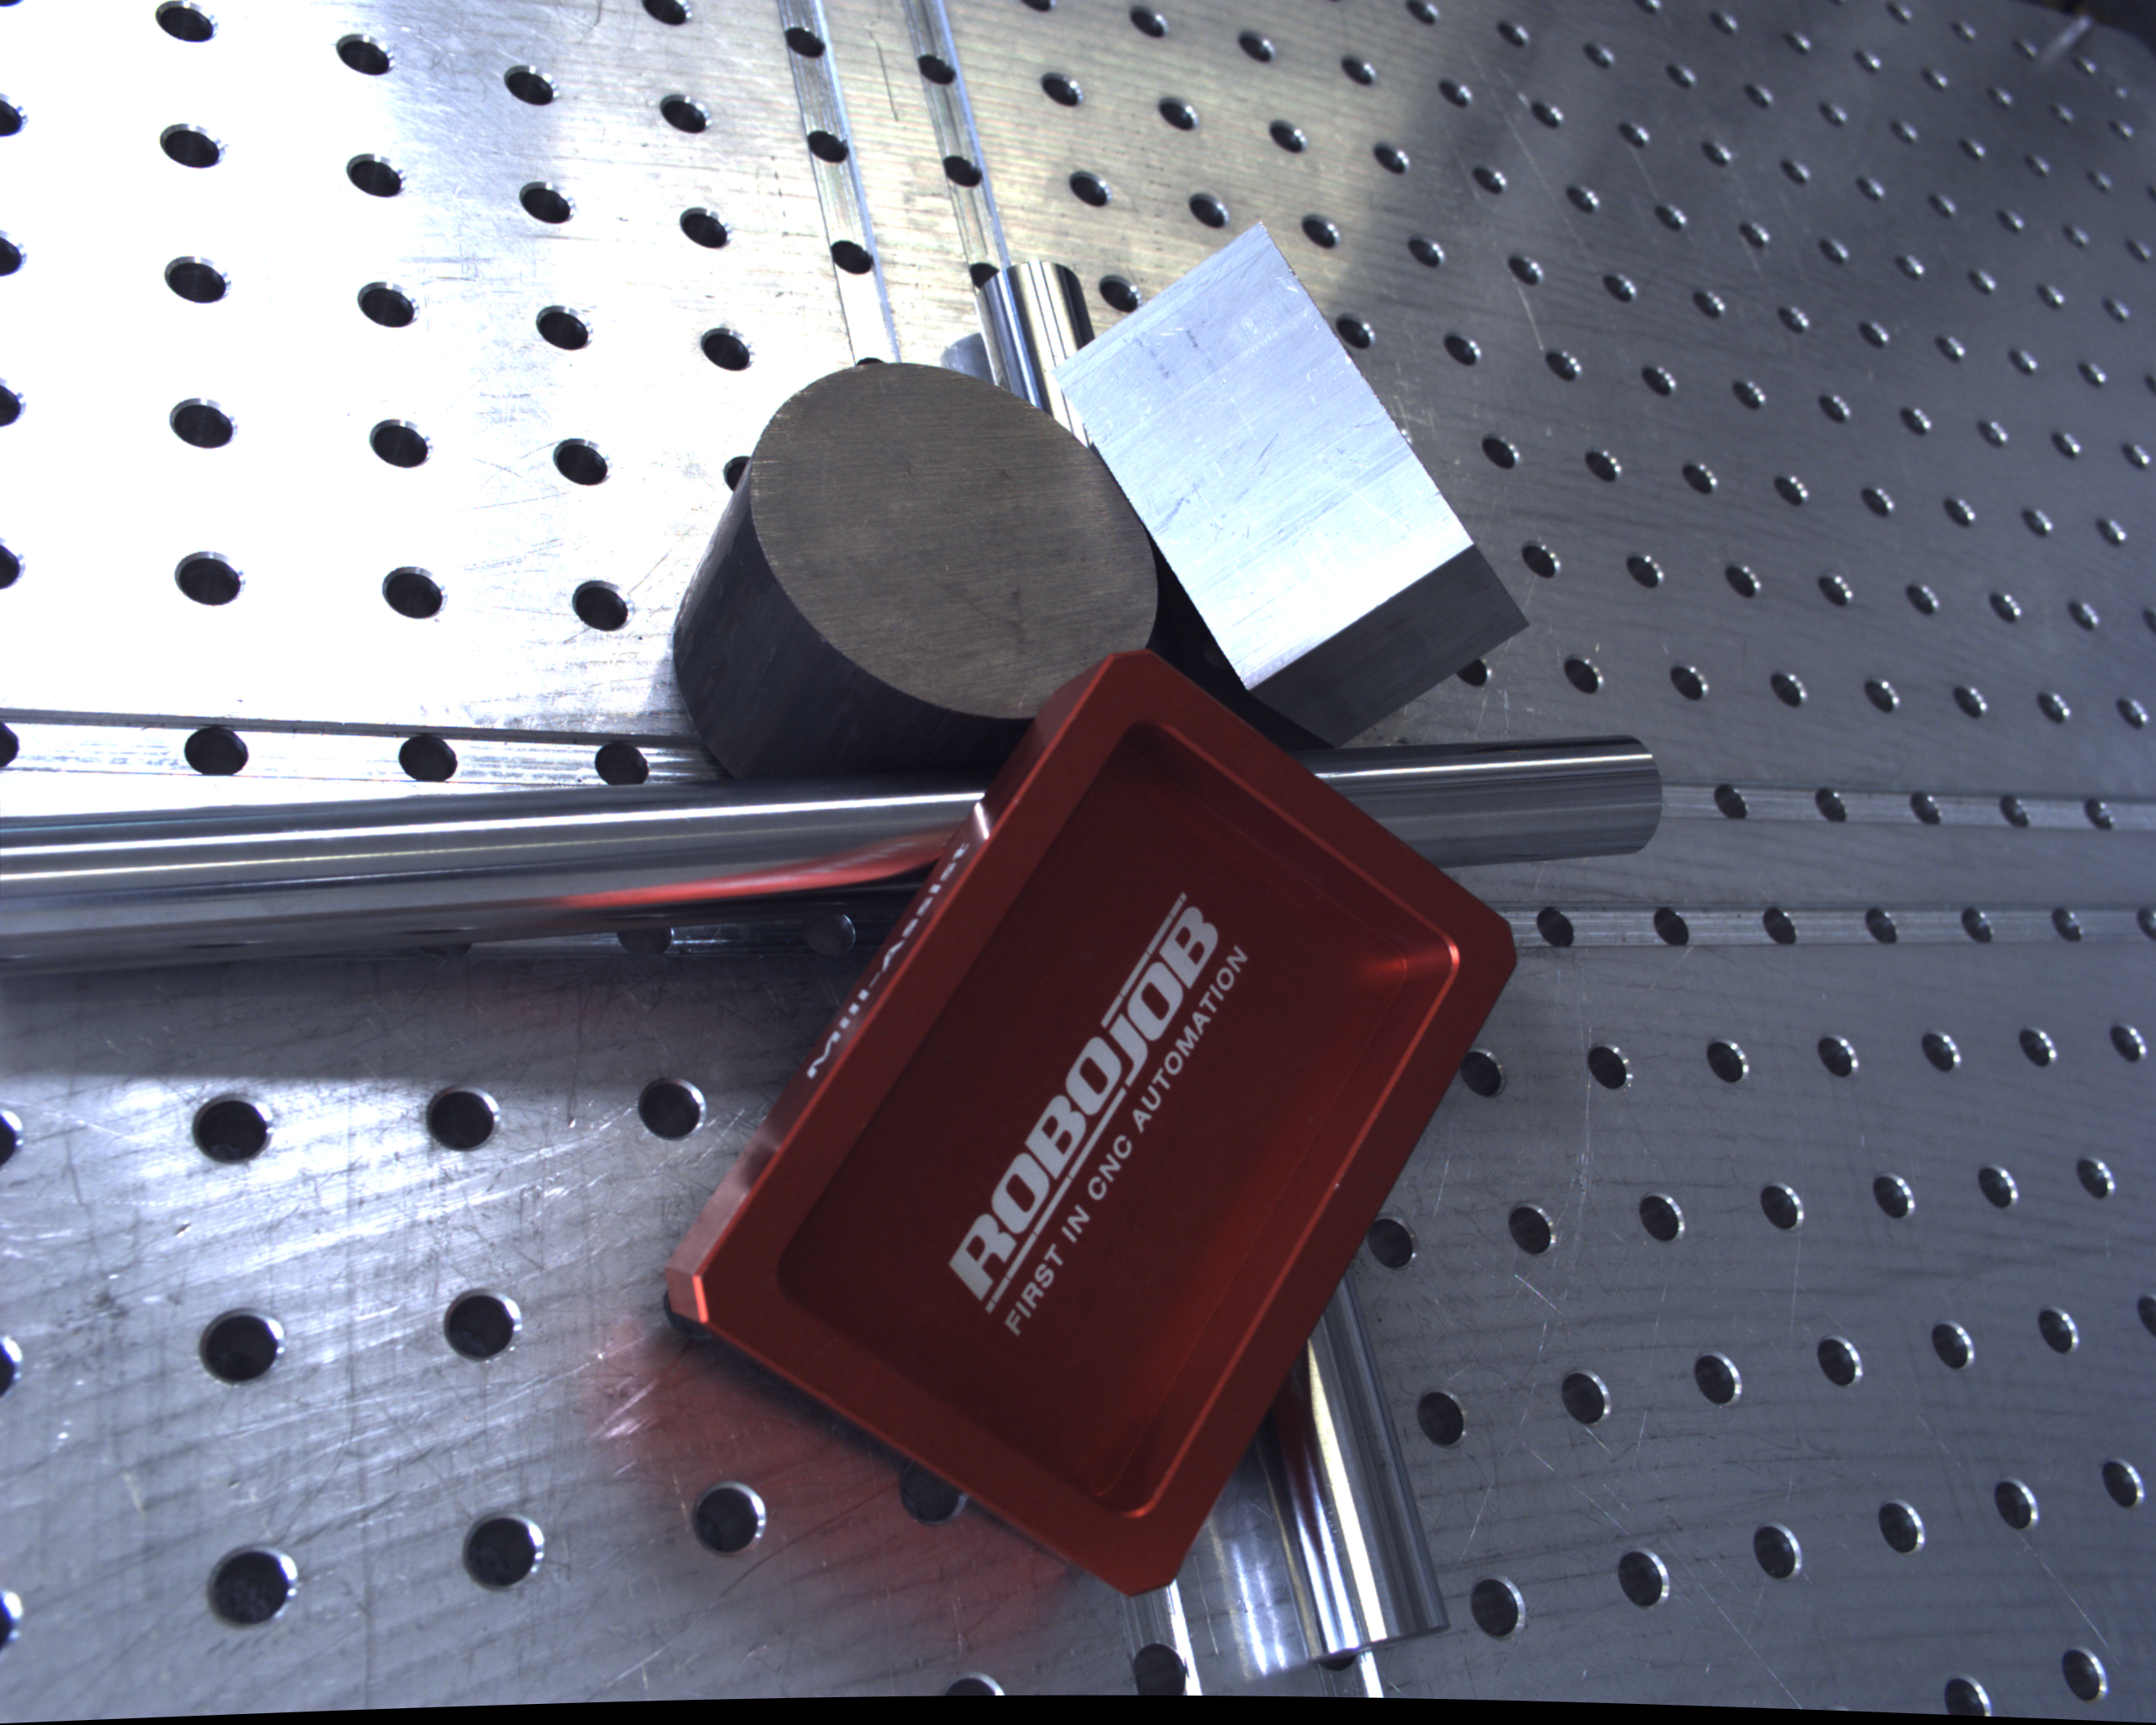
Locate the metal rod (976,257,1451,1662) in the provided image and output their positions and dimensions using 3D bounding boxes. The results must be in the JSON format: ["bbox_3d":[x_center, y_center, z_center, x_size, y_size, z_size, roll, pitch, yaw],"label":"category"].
[{"bbox_3d":[0.020,0.001,0.418,0.025,0.025,0.299,1,62,-28],"label":"metal rod"}]

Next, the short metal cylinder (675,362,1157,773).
[{"bbox_3d":[-0.032,-0.049,0.404,0.081,0.050,0.080,14,56,-21],"label":"short metal cylinder"}]

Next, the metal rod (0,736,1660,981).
[{"bbox_3d":[-0.027,-0.004,0.375,0.303,0.025,0.025,-4,64,-22],"label":"metal rod"}]

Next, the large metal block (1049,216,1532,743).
[{"bbox_3d":[0.047,-0.075,0.438,0.080,0.050,0.080,60,14,14],"label":"large metal block"}]

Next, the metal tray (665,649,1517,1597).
[{"bbox_3d":[0.005,0.041,0.349,0.090,0.030,0.130,37,71,-12],"label":"metal tray"}]
